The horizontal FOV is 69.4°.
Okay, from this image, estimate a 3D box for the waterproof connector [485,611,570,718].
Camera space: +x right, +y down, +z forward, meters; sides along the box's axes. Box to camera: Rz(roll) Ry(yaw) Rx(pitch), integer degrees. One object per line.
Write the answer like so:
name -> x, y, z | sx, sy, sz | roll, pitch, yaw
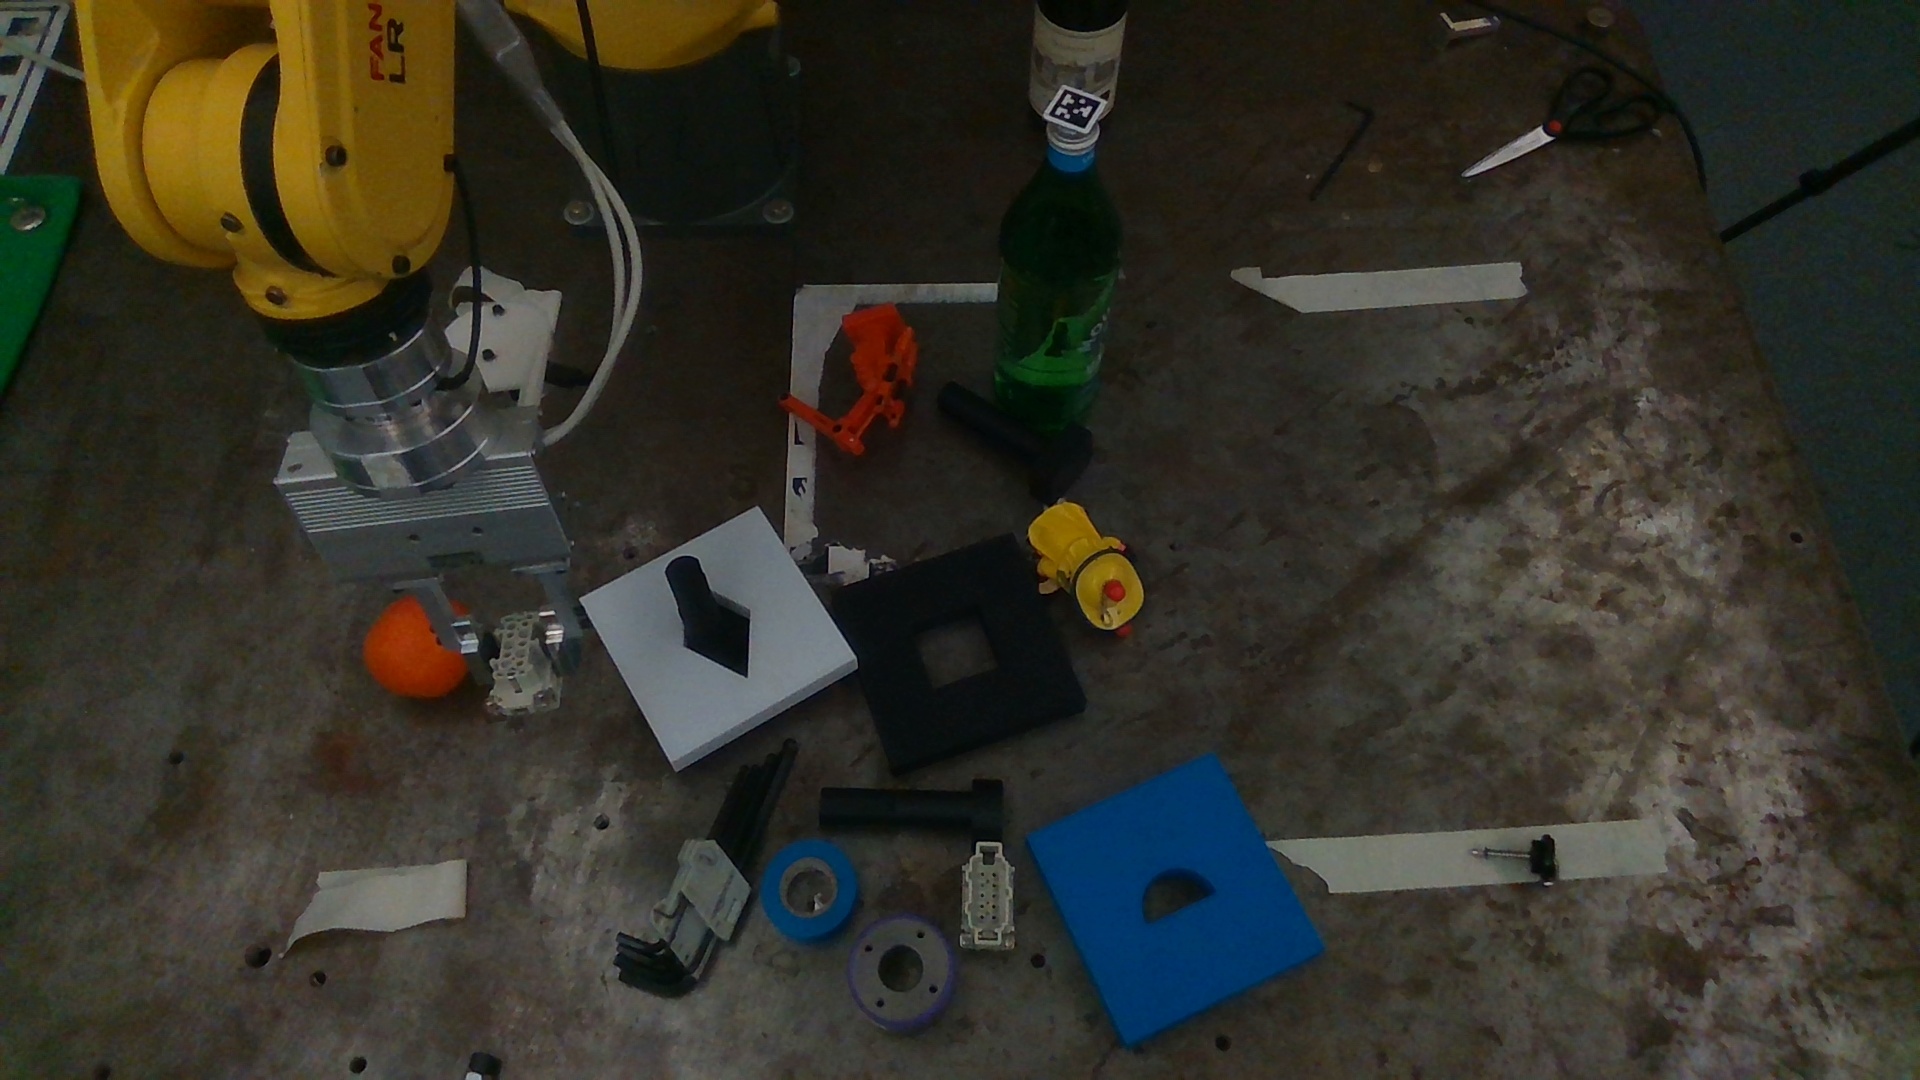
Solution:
waterproof connector -> -0.252, 0.071, 0.805 | 0.037, 0.038, 0.069 | -12, 45, 5
